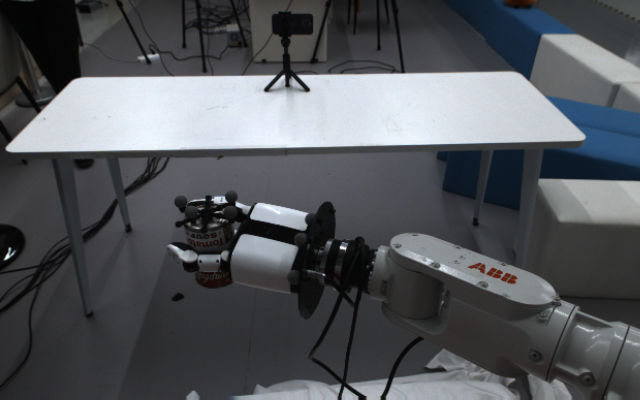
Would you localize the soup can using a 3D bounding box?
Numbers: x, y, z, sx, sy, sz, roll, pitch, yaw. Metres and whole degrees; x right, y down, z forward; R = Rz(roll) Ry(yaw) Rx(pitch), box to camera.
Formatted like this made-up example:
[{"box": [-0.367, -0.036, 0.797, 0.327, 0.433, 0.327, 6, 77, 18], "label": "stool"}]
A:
[{"box": [-0.150, 0.065, 0.683, 0.067, 0.101, 0.067, -2, 32, 1], "label": "soup can"}]
